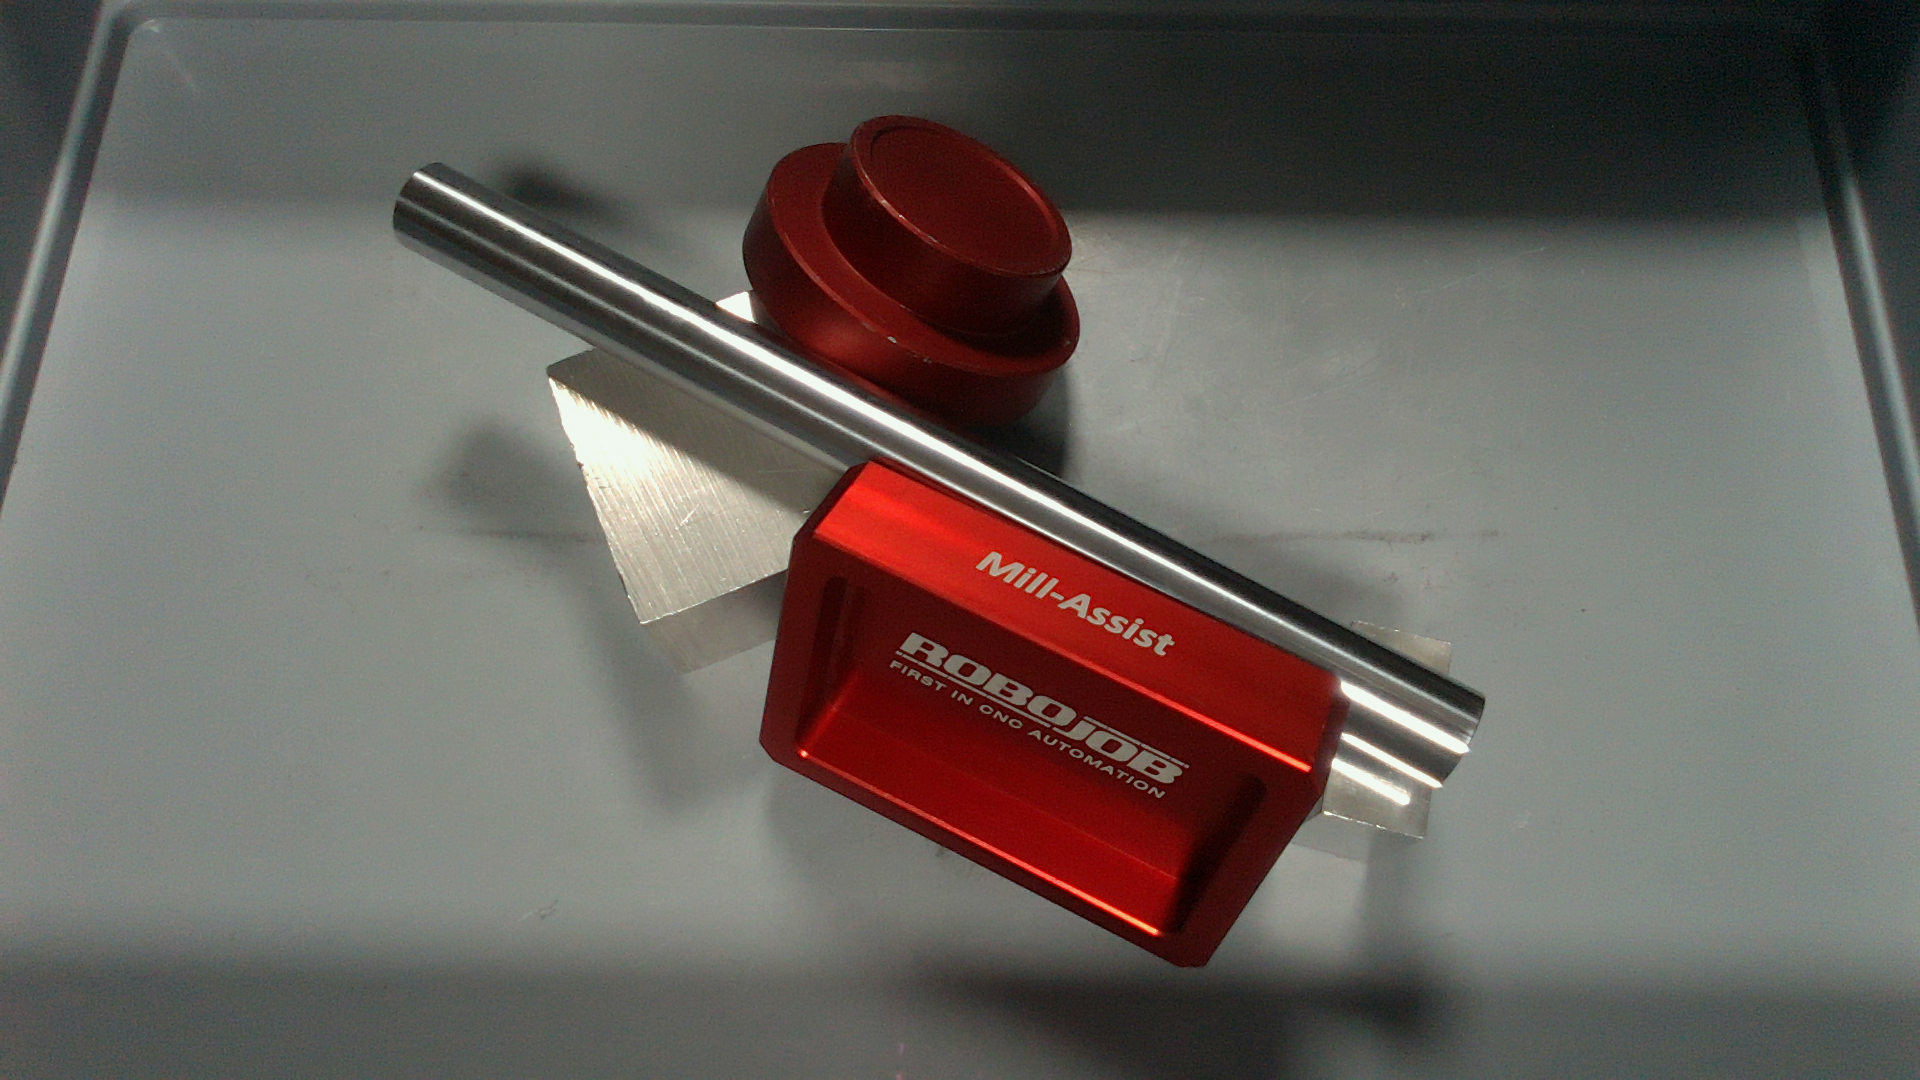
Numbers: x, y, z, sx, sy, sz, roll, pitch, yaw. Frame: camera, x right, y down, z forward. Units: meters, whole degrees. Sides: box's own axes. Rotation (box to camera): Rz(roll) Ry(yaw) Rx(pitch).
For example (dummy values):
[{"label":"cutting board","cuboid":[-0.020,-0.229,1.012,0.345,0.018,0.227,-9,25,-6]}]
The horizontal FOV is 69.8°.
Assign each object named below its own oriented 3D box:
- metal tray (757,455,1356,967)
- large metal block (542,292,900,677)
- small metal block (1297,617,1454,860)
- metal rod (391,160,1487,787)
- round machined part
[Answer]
[{"label":"metal tray","cuboid":[0.018,0.044,0.339,0.130,0.090,0.030,25,44,9]},{"label":"large metal block","cuboid":[-0.060,-0.019,0.387,0.080,0.050,0.080,-21,71,-8]},{"label":"small metal block","cuboid":[0.106,0.054,0.361,0.025,0.050,0.050,14,71,5]},{"label":"metal rod","cuboid":[-0.014,-0.022,0.347,0.300,0.025,0.025,28,72,10]},{"label":"round machined part","cuboid":[-0.008,-0.082,0.387,0.098,0.042,0.098,22,39,-18]}]
